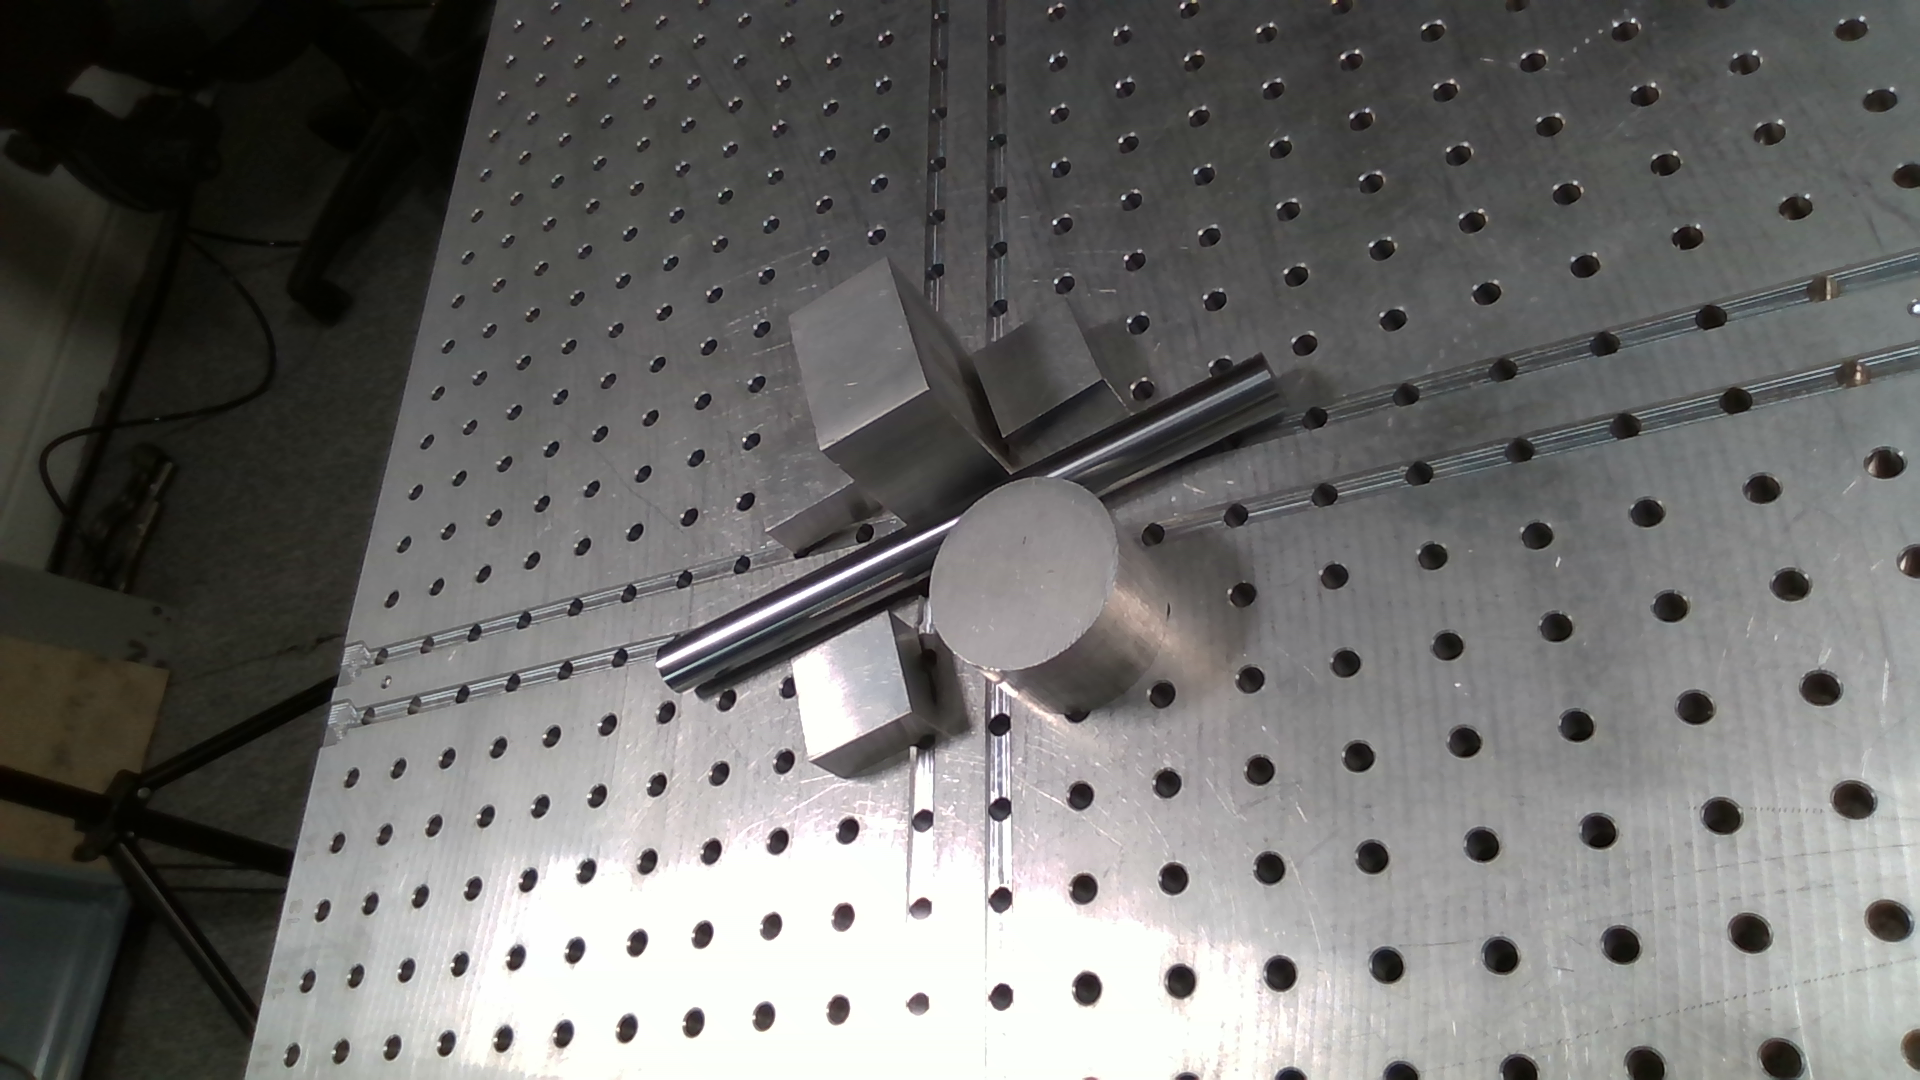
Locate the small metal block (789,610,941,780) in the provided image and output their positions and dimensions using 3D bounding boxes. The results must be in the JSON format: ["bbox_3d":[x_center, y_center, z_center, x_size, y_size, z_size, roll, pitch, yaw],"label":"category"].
[{"bbox_3d":[-0.040,0.065,0.579,0.050,0.025,0.050,-28,54,17],"label":"small metal block"}]

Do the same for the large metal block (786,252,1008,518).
[{"bbox_3d":[-0.026,-0.063,0.601,0.050,0.080,0.080,-28,54,16],"label":"large metal block"}]

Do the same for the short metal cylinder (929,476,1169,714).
[{"bbox_3d":[0.035,0.022,0.539,0.080,0.050,0.080,-14,59,25],"label":"short metal cylinder"}]

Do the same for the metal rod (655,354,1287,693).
[{"bbox_3d":[-0.004,-0.002,0.592,0.300,0.025,0.025,-26,55,18],"label":"metal rod"}]

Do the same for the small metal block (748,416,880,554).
[{"bbox_3d":[-0.068,-0.029,0.646,0.050,0.025,0.050,-28,54,16],"label":"small metal block"}]

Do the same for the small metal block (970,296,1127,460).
[{"bbox_3d":[0.038,-0.070,0.602,0.050,0.025,0.050,-30,53,15],"label":"small metal block"}]
